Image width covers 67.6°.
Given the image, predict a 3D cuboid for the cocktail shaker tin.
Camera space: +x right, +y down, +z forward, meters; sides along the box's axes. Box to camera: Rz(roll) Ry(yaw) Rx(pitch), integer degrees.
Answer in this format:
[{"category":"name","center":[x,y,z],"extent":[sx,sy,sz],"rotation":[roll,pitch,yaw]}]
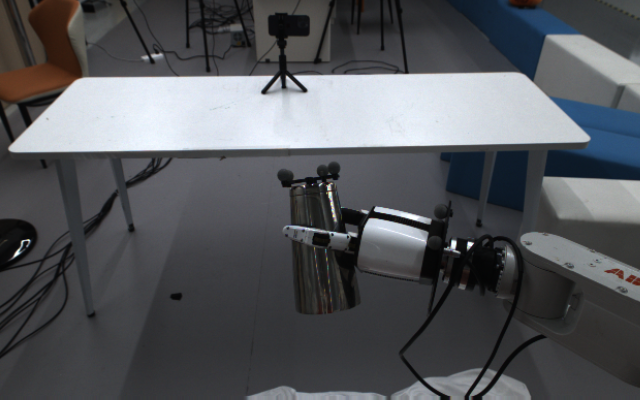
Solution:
[{"category":"cocktail shaker tin","center":[0.001,0.064,0.675],"extent":[0.093,0.170,0.093],"rotation":[-8,1,0]}]
